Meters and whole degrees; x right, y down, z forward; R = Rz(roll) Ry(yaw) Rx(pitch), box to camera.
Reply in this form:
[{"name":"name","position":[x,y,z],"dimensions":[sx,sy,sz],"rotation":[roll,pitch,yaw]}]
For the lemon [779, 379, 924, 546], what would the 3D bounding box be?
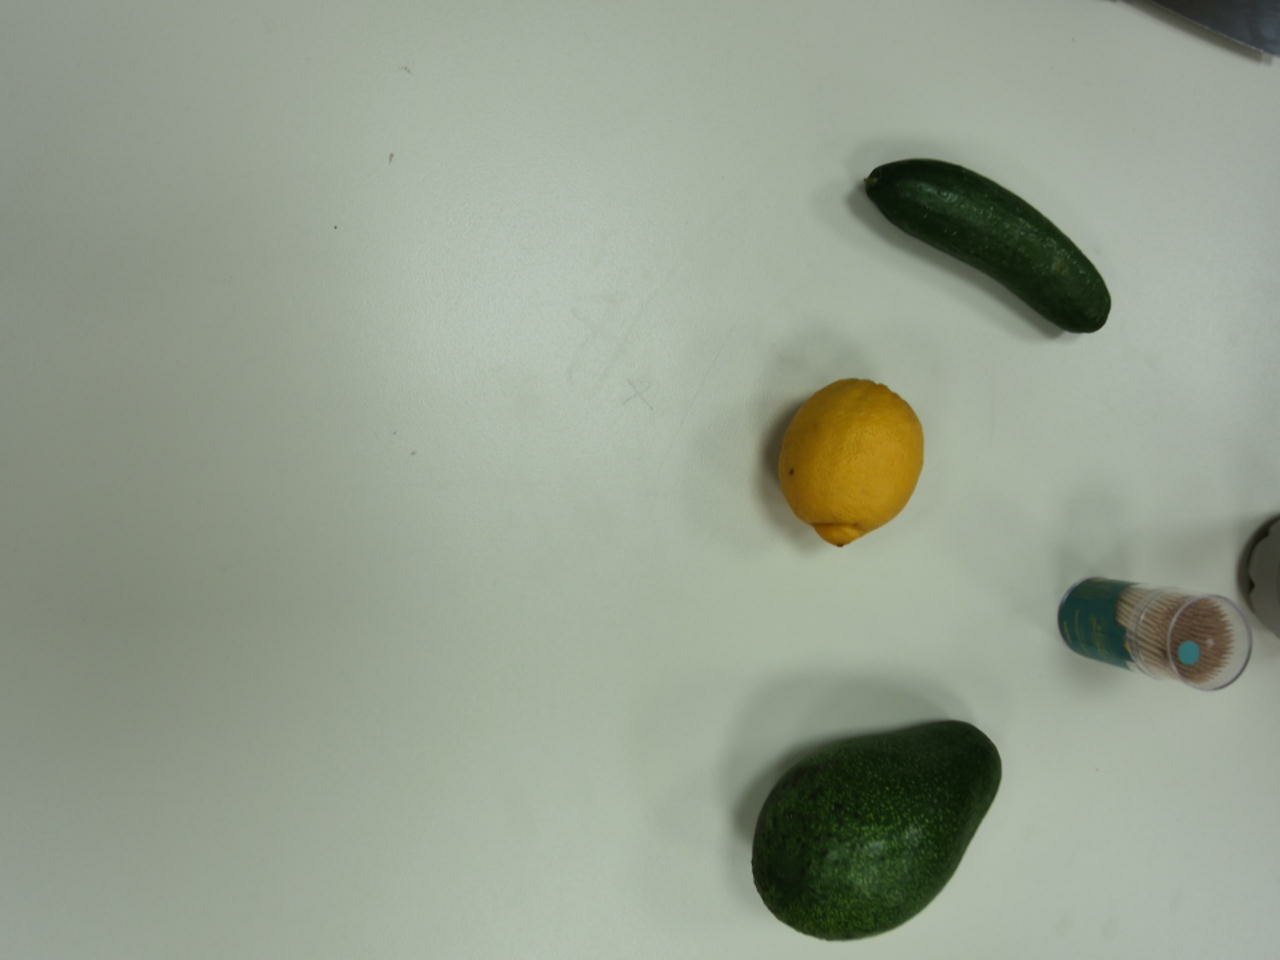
[{"name":"lemon","position":[0.090,-0.009,0.429],"dimensions":[0.061,0.059,0.067],"rotation":[43,82,-9]}]
